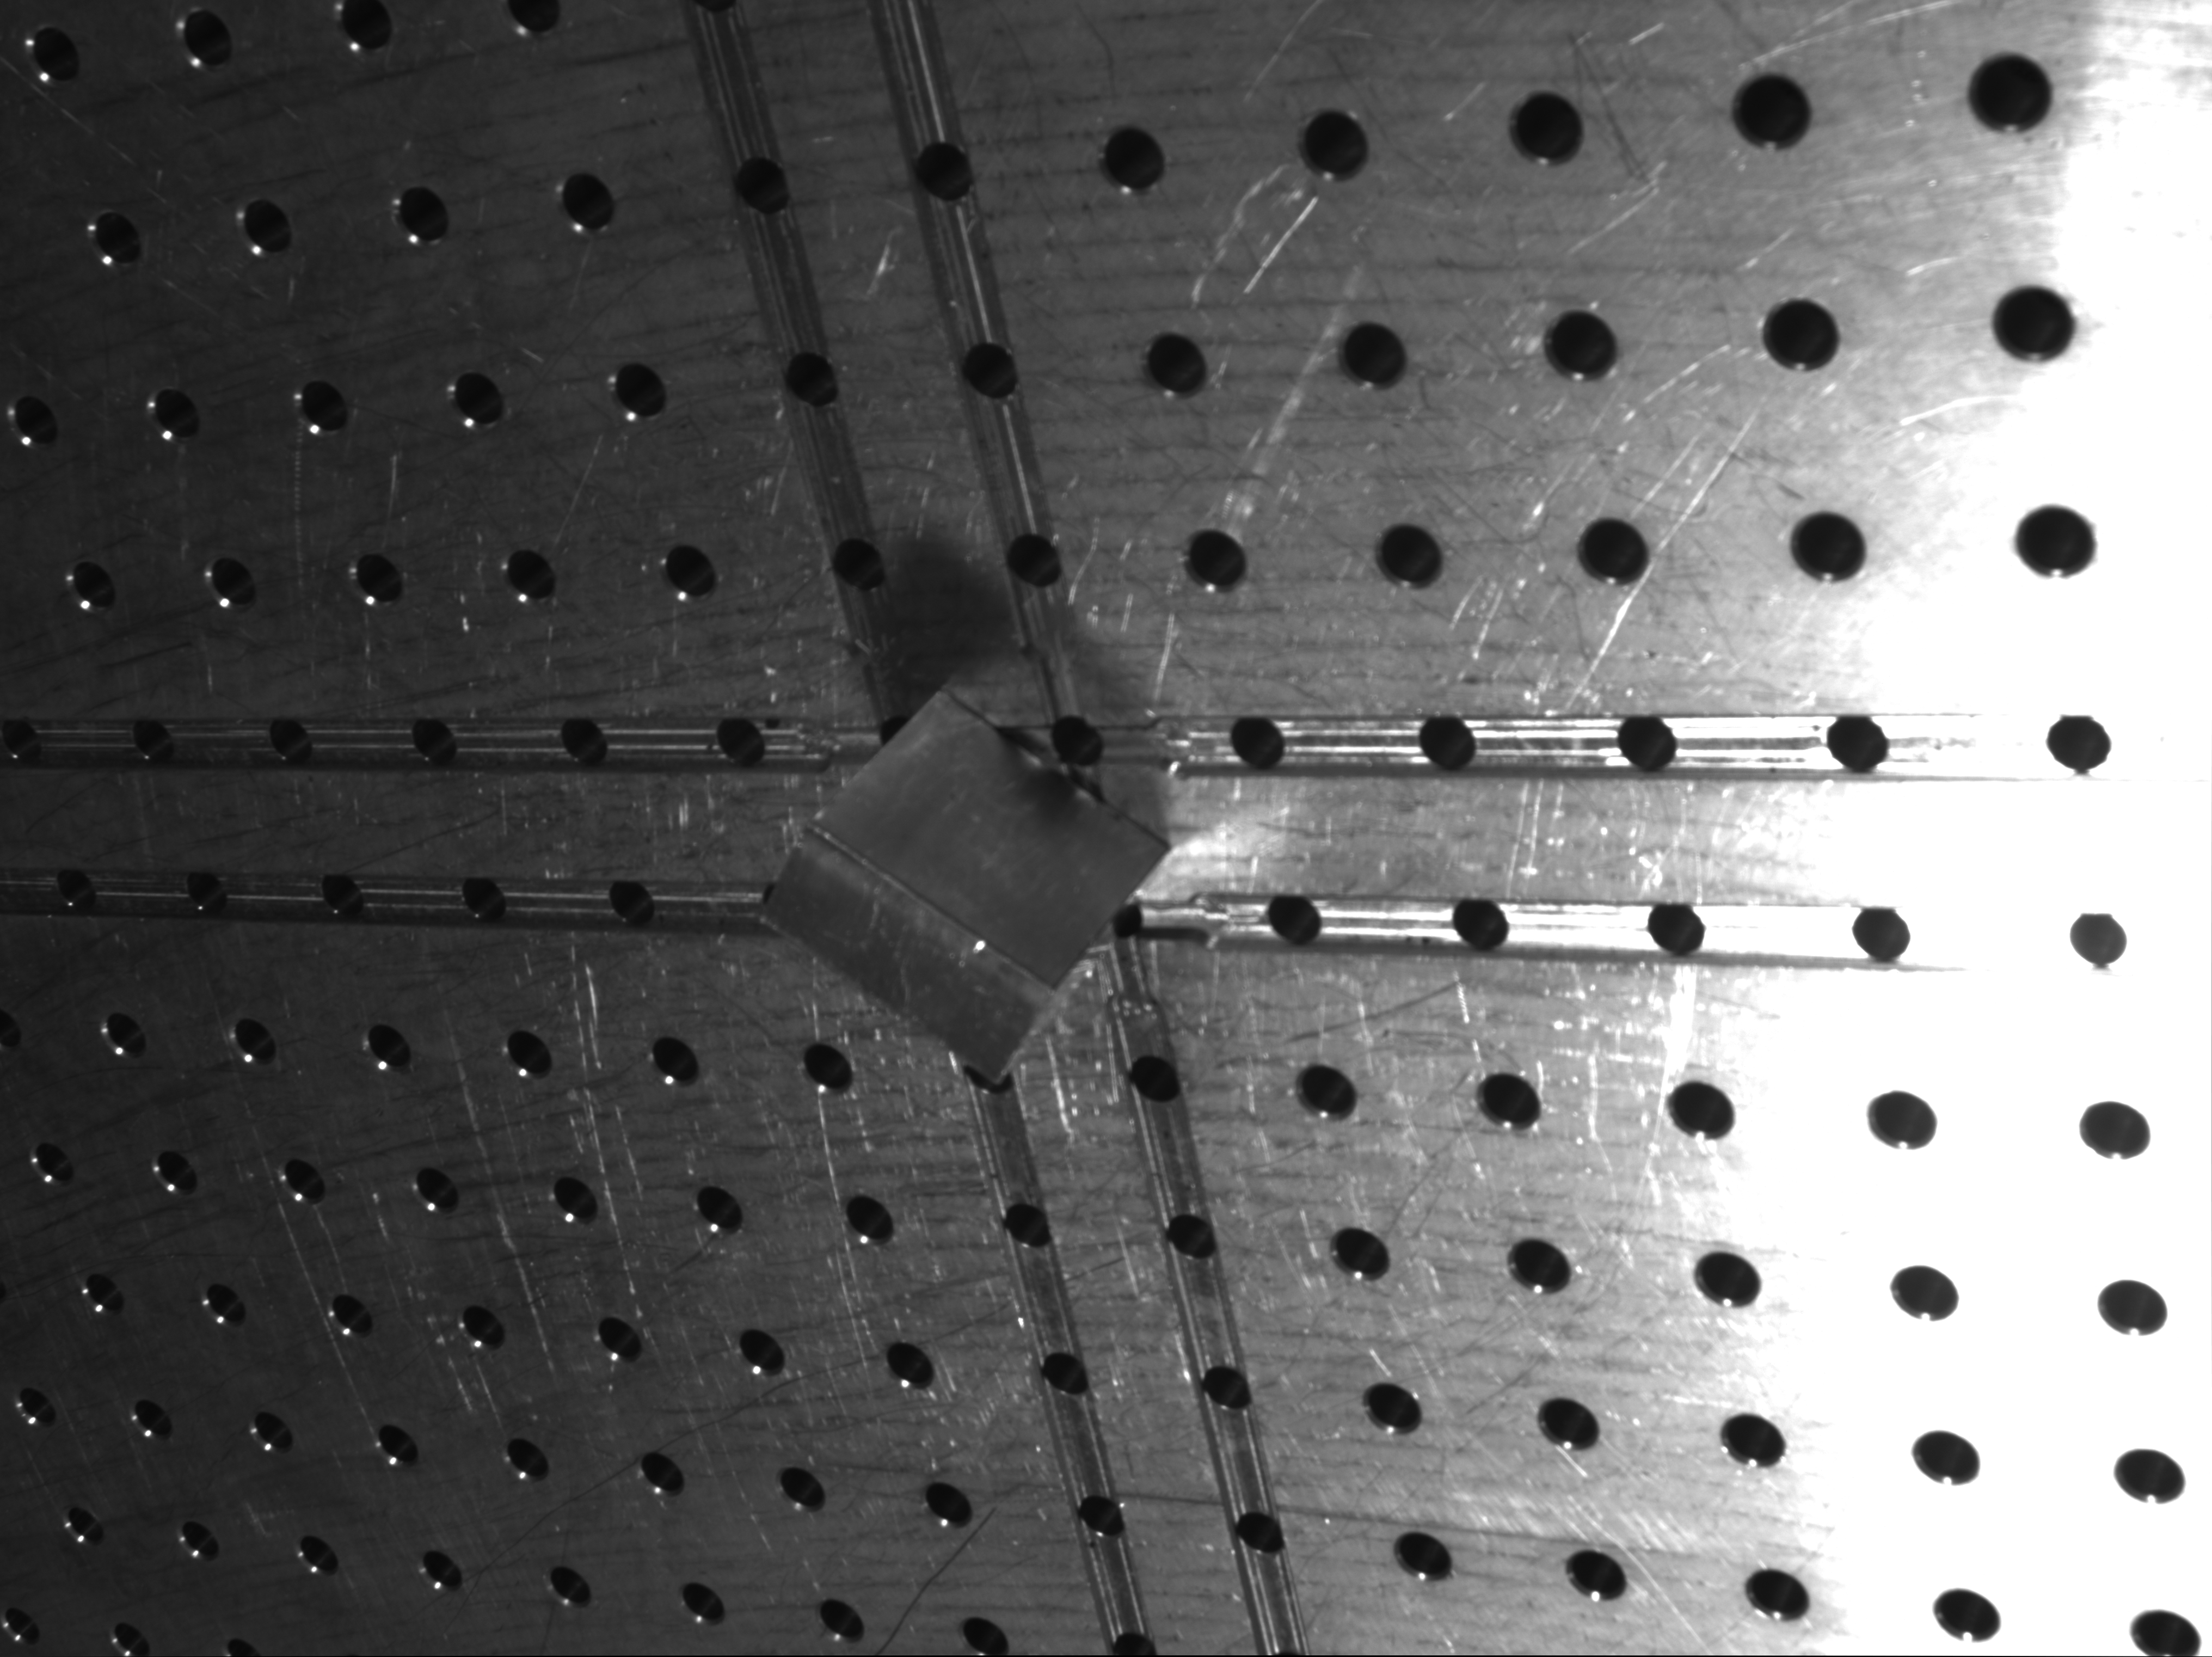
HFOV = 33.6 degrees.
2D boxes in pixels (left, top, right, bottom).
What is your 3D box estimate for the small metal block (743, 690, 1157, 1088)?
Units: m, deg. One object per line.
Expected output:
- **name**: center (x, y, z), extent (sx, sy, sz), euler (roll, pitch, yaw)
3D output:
- **small metal block**: center (-0.026, 0.010, 0.637), extent (0.050, 0.050, 0.025), euler (35, 128, 4)
